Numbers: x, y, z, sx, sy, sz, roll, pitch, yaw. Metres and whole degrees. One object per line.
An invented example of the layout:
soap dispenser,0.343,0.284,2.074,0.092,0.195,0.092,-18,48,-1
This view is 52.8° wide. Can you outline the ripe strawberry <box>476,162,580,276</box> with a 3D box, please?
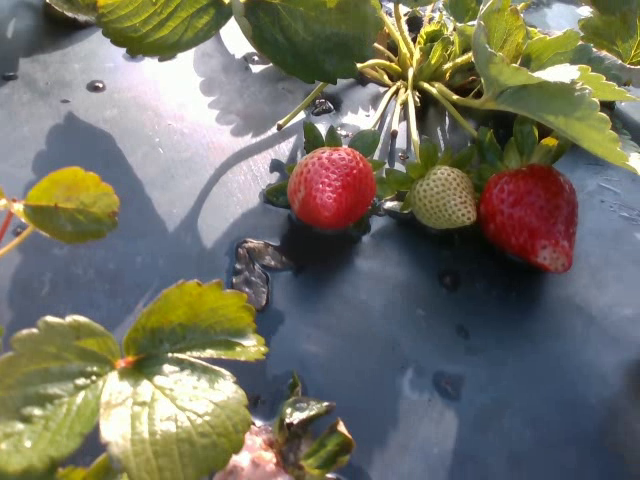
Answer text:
ripe strawberry,0.098,-0.008,0.288,0.048,0.065,0.050,-26,-36,25
